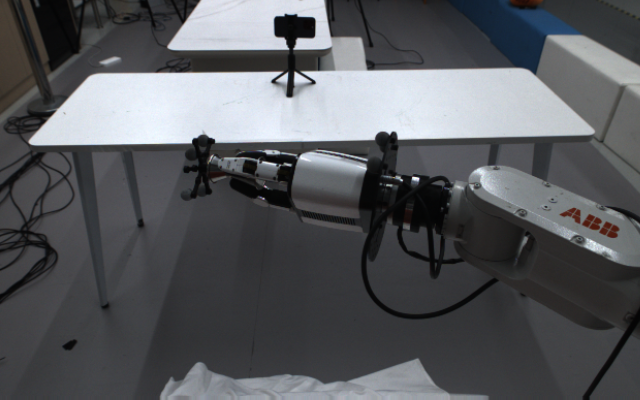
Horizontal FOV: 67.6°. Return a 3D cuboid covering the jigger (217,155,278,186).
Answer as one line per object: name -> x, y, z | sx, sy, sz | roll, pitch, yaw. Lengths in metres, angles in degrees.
jigger -> -0.102, -0.041, 0.634 | 0.071, 0.043, 0.043 | 6, 35, 14
